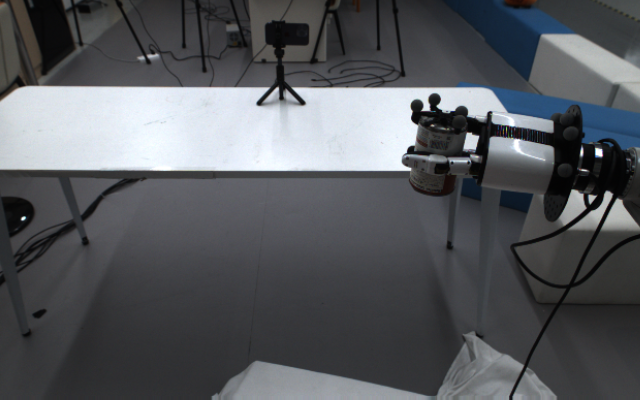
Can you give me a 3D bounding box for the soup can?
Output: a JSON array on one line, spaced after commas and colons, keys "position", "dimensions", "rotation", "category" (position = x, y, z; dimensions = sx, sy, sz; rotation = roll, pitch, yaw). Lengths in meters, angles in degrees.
[{"position": [0.168, -0.066, 0.690], "dimensions": [0.067, 0.101, 0.067], "rotation": [2, 32, -1], "category": "soup can"}]
